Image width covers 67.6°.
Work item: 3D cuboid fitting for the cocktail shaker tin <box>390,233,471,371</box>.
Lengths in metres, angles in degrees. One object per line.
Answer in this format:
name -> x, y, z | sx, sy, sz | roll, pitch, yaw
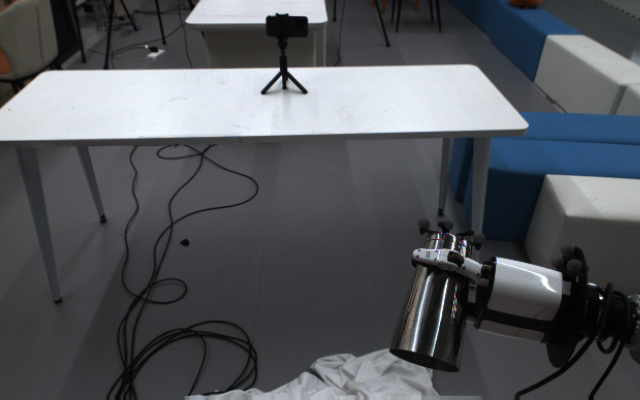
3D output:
cocktail shaker tin -> 0.161, 0.131, 0.659 | 0.093, 0.093, 0.170 | 13, 65, 15
